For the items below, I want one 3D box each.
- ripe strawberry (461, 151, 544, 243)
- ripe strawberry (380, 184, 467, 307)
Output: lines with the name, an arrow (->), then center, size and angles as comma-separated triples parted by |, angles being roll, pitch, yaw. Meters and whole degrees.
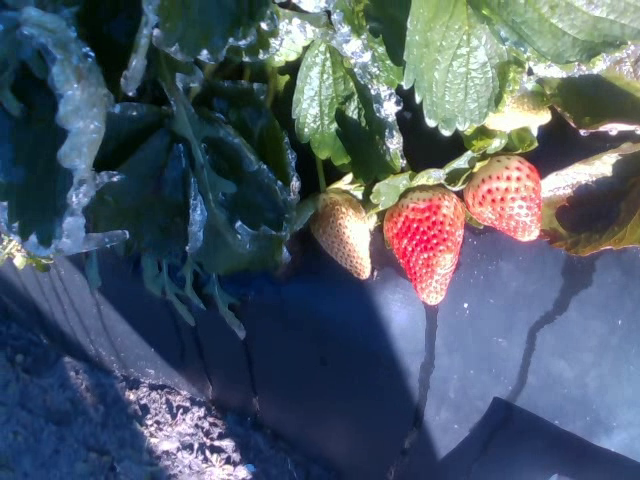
ripe strawberry -> 0.079, -0.016, 0.251 | 0.036, 0.041, 0.030 | -41, 5, 42
ripe strawberry -> 0.047, 0.006, 0.260 | 0.036, 0.052, 0.039 | -12, -9, 33
